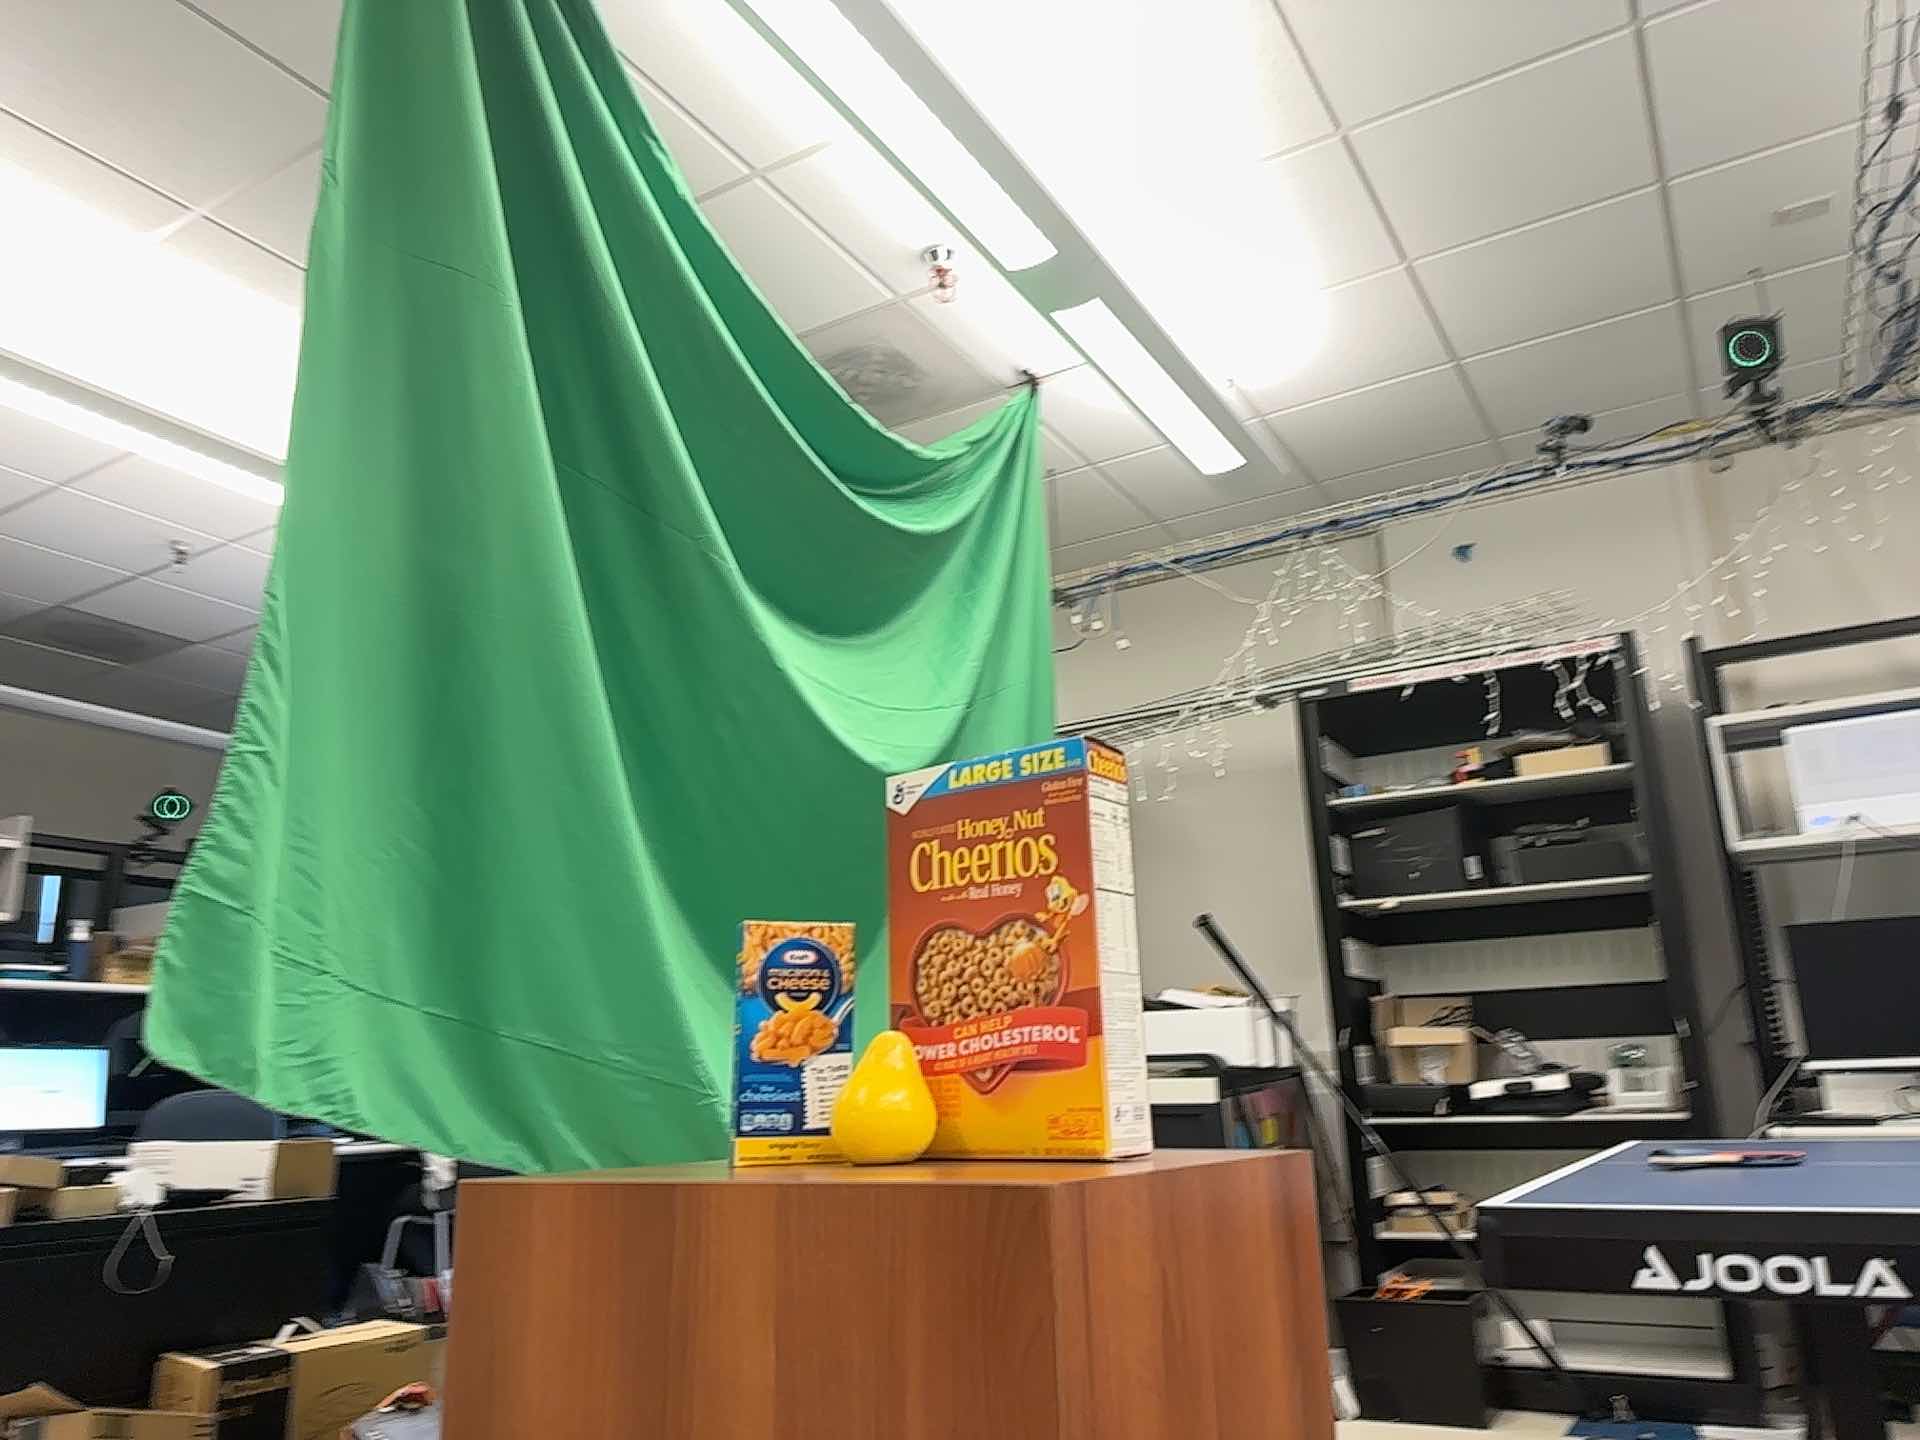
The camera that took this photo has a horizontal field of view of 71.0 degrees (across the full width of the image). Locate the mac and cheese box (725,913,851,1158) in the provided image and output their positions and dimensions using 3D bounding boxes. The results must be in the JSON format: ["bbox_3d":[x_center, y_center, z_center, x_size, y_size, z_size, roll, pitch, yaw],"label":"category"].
[{"bbox_3d":[-0.135,0.246,1.060,0.088,0.181,0.035,2,-14,-13],"label":"mac and cheese box"}]

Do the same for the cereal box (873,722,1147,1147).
[{"bbox_3d":[0.030,0.170,1.041,0.195,0.297,0.065,-12,-17,35],"label":"cereal box"}]

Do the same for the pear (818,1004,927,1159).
[{"bbox_3d":[-0.063,0.262,0.985,0.080,0.111,0.080,2,-17,1],"label":"pear"}]
